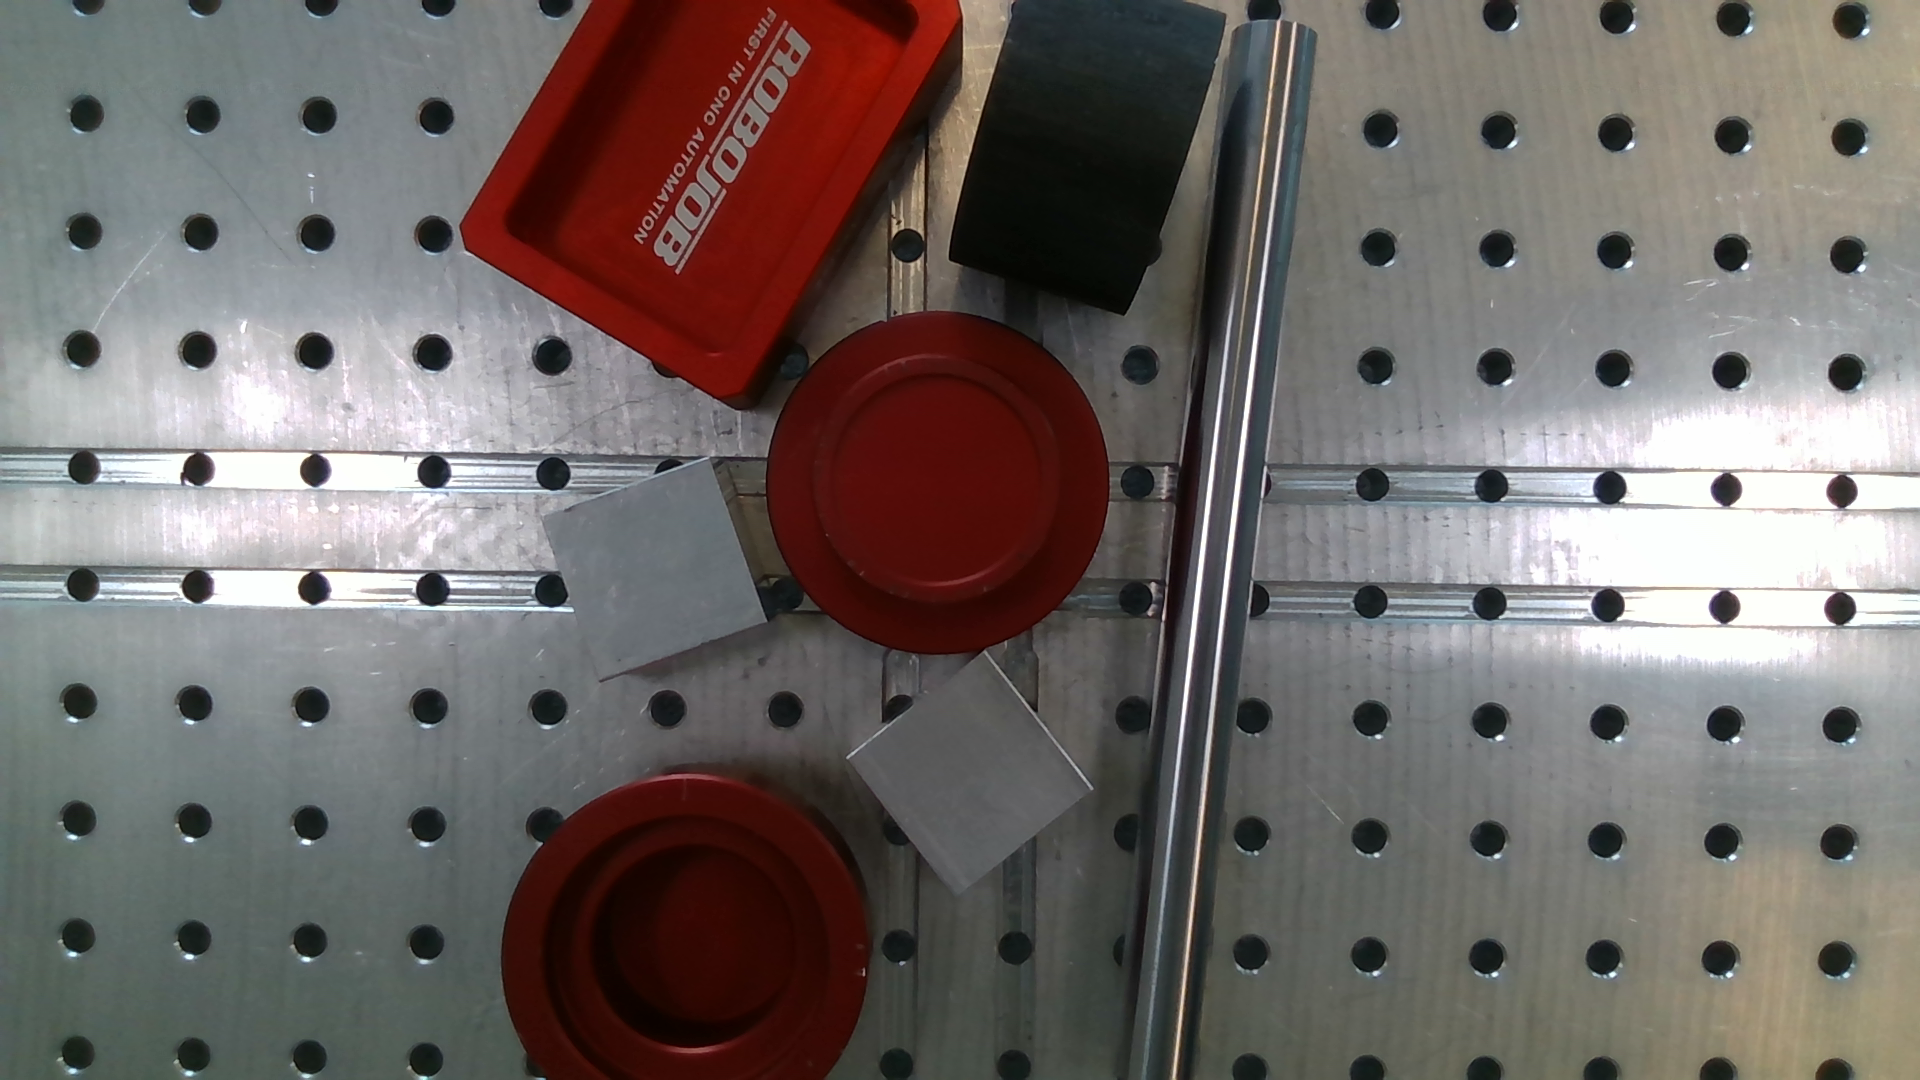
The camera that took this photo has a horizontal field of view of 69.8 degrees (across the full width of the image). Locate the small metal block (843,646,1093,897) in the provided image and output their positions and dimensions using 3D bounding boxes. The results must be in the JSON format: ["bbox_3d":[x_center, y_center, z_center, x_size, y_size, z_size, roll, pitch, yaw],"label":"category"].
[{"bbox_3d":[0.002,0.065,0.398,0.050,0.025,0.050,-38,90,0],"label":"small metal block"}]

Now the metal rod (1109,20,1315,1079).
[{"bbox_3d":[0.073,0.004,0.397,0.025,0.025,0.300,6,90,0],"label":"metal rod"}]

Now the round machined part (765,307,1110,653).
[{"bbox_3d":[-0.006,-0.017,0.389,0.098,0.042,0.098,0,90,-3],"label":"round machined part"}]

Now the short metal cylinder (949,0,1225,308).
[{"bbox_3d":[0.033,-0.108,0.370,0.050,0.080,0.080,18,90,0],"label":"short metal cylinder"}]

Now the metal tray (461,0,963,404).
[{"bbox_3d":[-0.069,-0.116,0.394,0.090,0.030,0.130,31,90,0],"label":"metal tray"}]

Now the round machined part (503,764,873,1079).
[{"bbox_3d":[-0.074,0.111,0.390,0.098,0.042,0.098,0,90,0],"label":"round machined part"}]

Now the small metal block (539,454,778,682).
[{"bbox_3d":[-0.086,0.008,0.398,0.050,0.025,0.050,-19,90,0],"label":"small metal block"}]
